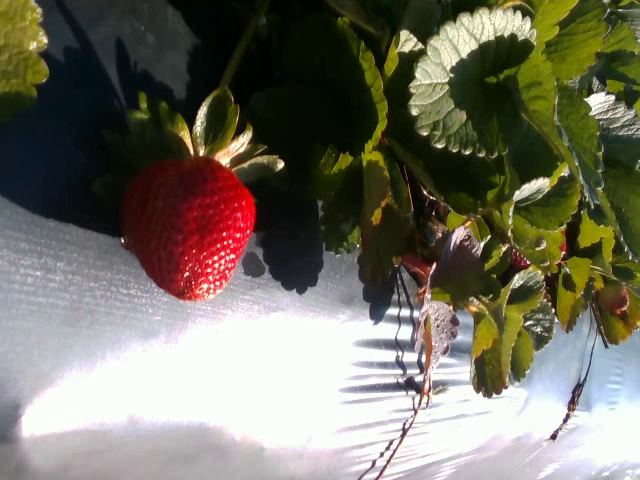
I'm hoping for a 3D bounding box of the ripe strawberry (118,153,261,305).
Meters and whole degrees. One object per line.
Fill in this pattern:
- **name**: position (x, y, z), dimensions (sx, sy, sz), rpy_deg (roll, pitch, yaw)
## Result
- **ripe strawberry**: position (-0.038, 0.002, 0.158), dimensions (0.043, 0.043, 0.050), rpy_deg (-11, 42, 8)
